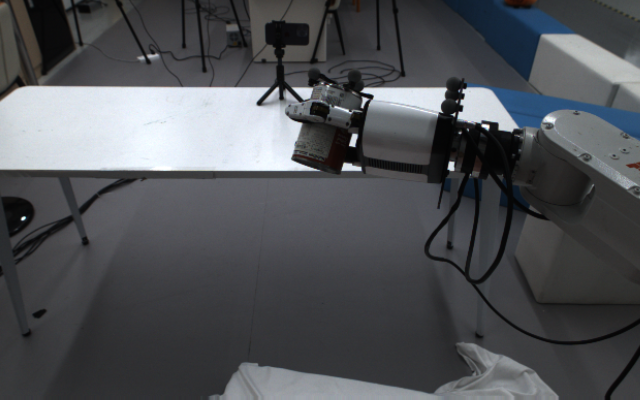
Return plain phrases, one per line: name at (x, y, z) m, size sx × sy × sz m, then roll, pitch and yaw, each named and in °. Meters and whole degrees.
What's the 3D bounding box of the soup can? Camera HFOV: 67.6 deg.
soup can at (0.010, -0.091, 0.625) m, size 0.067 × 0.101 × 0.067 m, roll 17°, pitch -2°, yaw 0°
